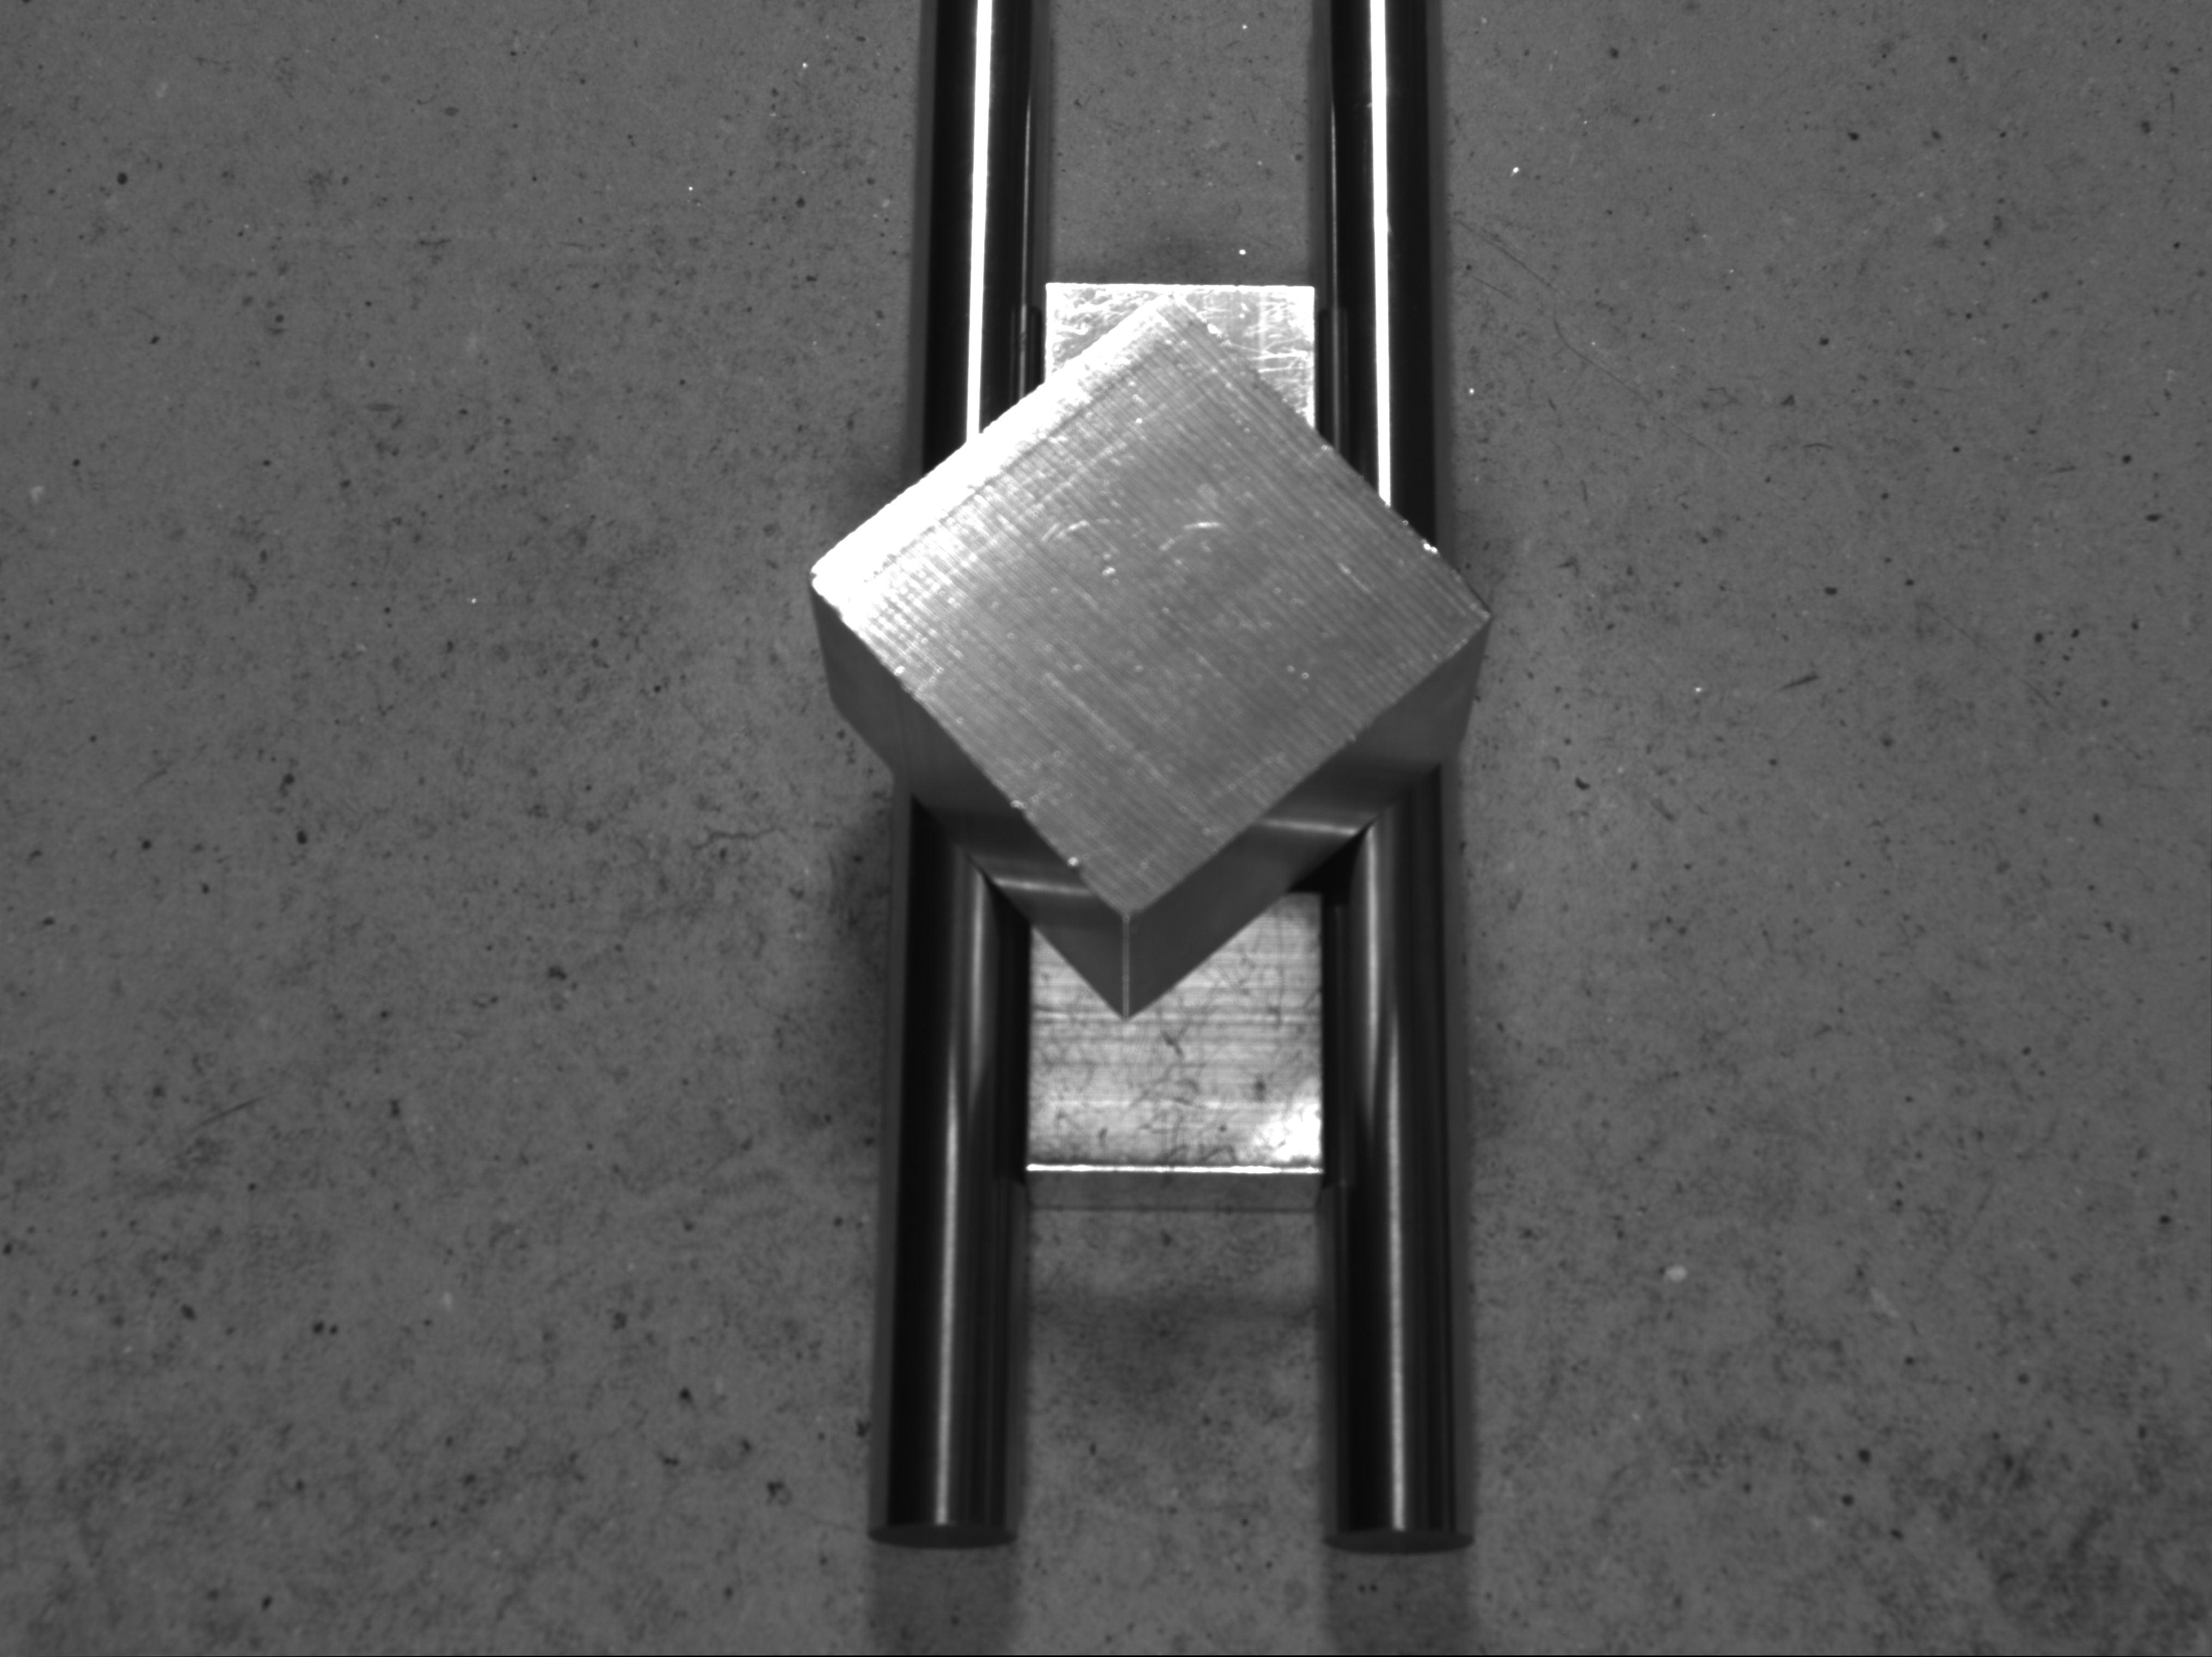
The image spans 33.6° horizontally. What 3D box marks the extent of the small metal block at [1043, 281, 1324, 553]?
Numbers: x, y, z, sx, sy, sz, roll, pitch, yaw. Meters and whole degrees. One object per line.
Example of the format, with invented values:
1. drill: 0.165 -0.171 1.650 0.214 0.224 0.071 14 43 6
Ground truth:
1. small metal block: 0.014 -0.072 0.670 0.050 0.025 0.050 1 70 0

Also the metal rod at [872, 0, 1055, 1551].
1. metal rod: -0.024 -0.024 0.654 0.025 0.025 0.300 1 70 0

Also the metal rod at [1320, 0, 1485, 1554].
1. metal rod: 0.052 -0.023 0.654 0.025 0.025 0.300 1 70 0

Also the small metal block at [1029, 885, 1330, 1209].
1. small metal block: 0.013 0.038 0.630 0.050 0.025 0.050 1 70 0

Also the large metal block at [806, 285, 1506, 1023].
1. large metal block: 0.008 -0.029 0.614 0.080 0.050 0.080 -39 74 -13
